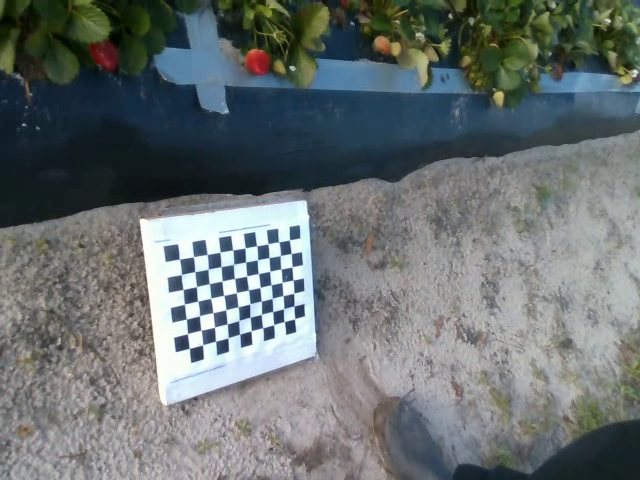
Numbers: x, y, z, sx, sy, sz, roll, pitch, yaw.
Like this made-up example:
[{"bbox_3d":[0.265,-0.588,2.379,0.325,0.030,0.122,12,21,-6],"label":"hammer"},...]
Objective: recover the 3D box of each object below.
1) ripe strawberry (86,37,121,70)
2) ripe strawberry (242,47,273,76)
[{"bbox_3d":[-0.130,-0.115,0.394,0.018,0.023,0.021,-17,-16,-22],"label":"ripe strawberry"},{"bbox_3d":[-0.043,-0.132,0.475,0.023,0.026,0.021,1,-39,-17],"label":"ripe strawberry"}]
